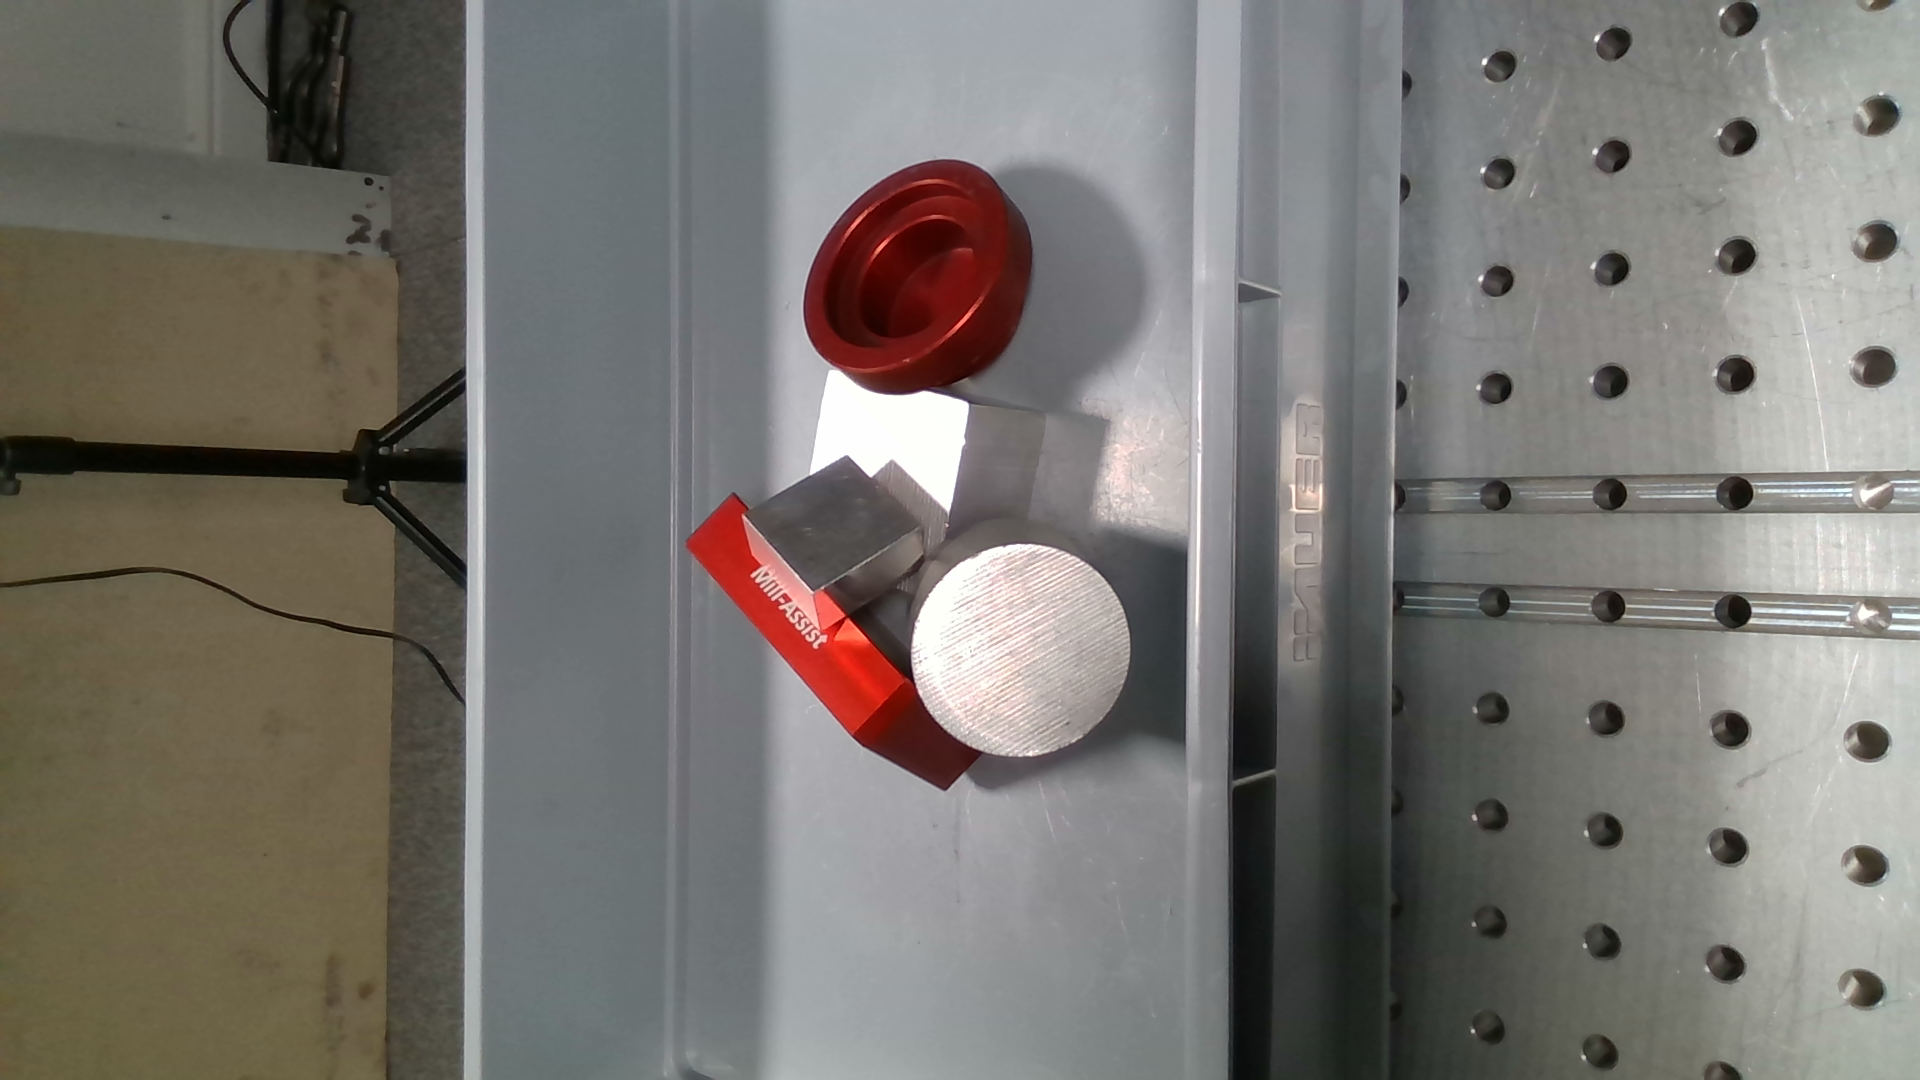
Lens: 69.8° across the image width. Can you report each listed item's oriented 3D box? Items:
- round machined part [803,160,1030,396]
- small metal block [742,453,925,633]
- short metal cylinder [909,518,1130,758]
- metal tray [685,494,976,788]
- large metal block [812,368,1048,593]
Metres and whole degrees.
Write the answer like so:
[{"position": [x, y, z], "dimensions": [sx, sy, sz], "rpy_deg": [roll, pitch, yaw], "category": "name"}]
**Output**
[{"position": [-0.013, -0.102, 0.564], "dimensions": [0.098, 0.042, 0.098], "rpy_deg": [-16, 60, 28], "category": "round machined part"}, {"position": [-0.049, 0.000, 0.538], "dimensions": [0.050, 0.050, 0.025], "rpy_deg": [45, 155, 31], "category": "small metal block"}, {"position": [0.020, 0.035, 0.520], "dimensions": [0.050, 0.080, 0.080], "rpy_deg": [-110, 32, -77], "category": "short metal cylinder"}, {"position": [-0.051, 0.043, 0.580], "dimensions": [0.030, 0.090, 0.130], "rpy_deg": [-46, 59, -1], "category": "metal tray"}, {"position": [-0.017, -0.024, 0.579], "dimensions": [0.080, 0.050, 0.080], "rpy_deg": [19, 102, 39], "category": "large metal block"}]
